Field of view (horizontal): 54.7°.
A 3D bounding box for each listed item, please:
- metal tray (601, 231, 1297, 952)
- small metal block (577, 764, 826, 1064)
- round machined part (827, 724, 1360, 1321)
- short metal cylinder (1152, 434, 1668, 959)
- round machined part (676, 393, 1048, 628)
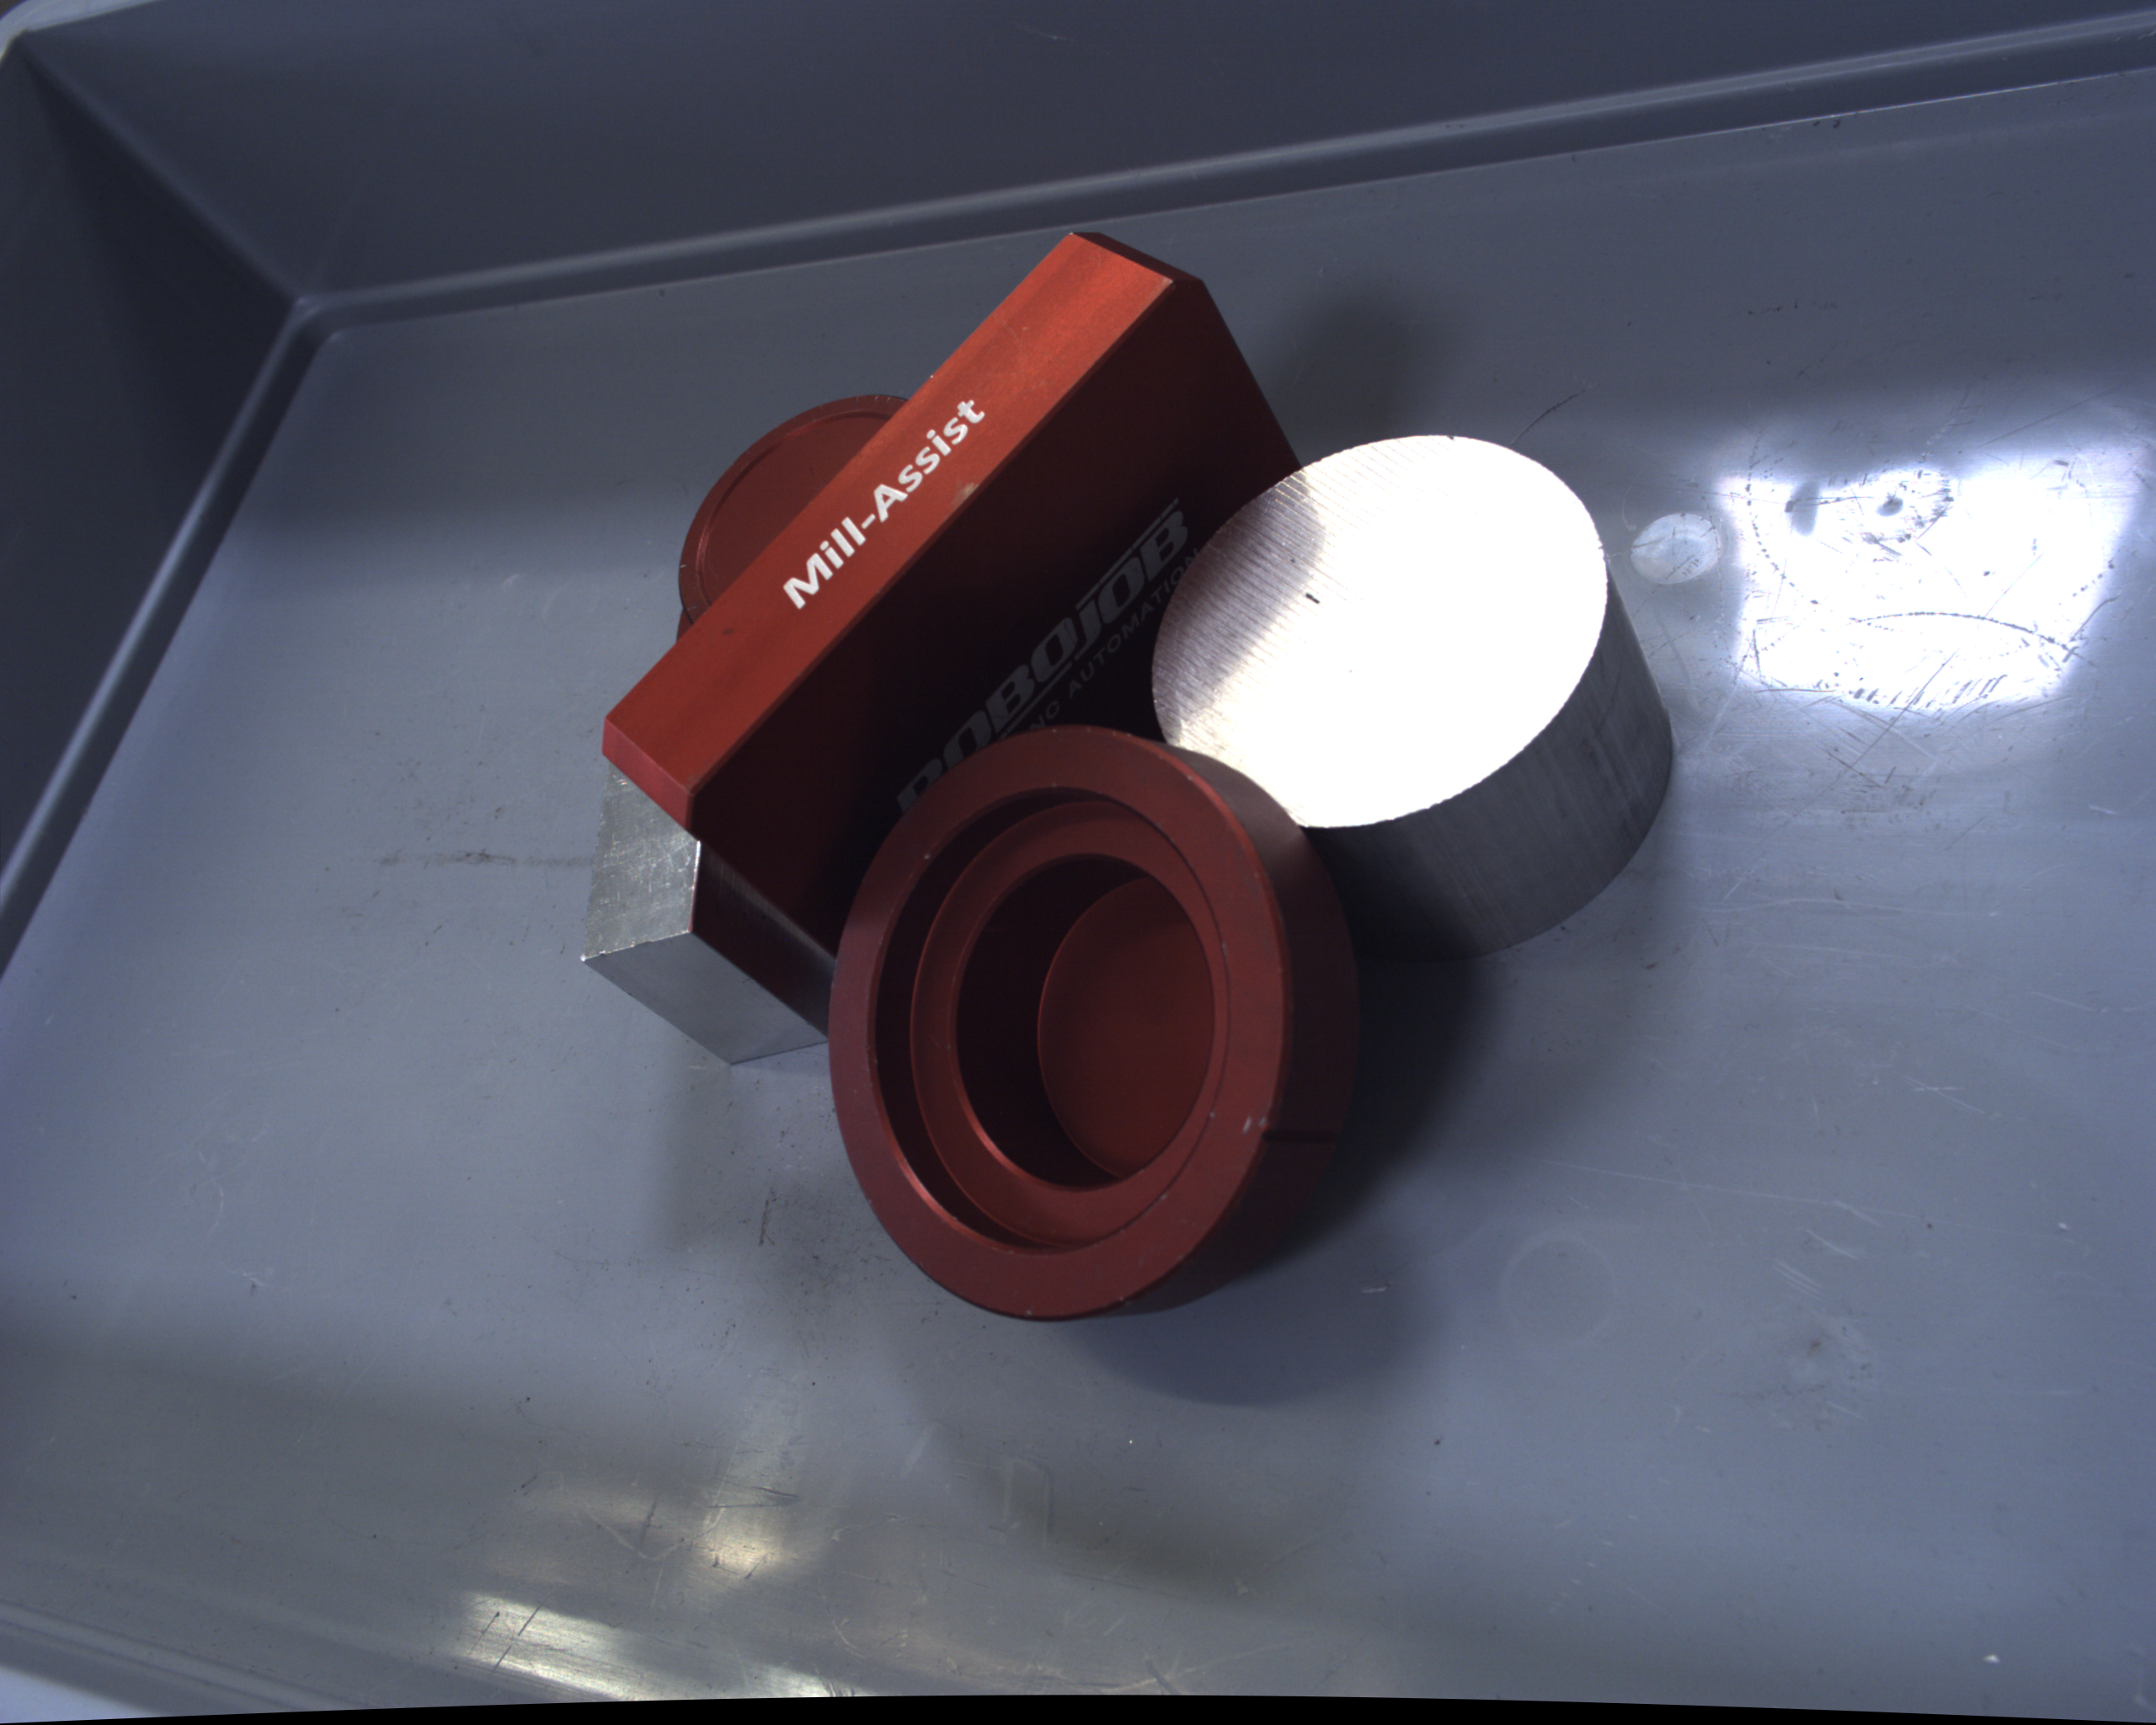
[{"bbox_3d":[-0.014,-0.041,0.394,0.130,0.090,0.030,-48,51,-6],"label":"metal tray"},{"bbox_3d":[-0.073,0.006,0.421,0.025,0.050,0.050,-14,56,20],"label":"small metal block"},{"bbox_3d":[0.006,0.028,0.357,0.098,0.042,0.097,-7,79,38],"label":"round machined part"},{"bbox_3d":[0.060,-0.029,0.373,0.080,0.050,0.080,-13,56,21],"label":"short metal cylinder"},{"bbox_3d":[-0.047,-0.063,0.455,0.098,0.042,0.098,-13,56,21],"label":"round machined part"}]
